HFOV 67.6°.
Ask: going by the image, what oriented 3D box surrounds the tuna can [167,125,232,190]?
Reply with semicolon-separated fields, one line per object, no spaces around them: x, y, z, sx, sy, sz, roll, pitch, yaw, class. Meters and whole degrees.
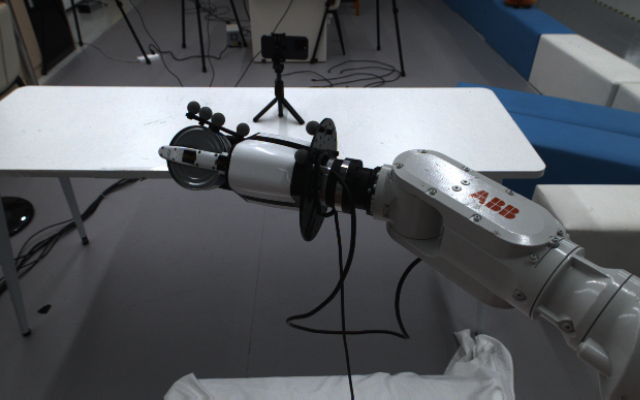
-0.158;-0.055;0.650;0.085;0.085;0.034;13;3;15;tuna can
